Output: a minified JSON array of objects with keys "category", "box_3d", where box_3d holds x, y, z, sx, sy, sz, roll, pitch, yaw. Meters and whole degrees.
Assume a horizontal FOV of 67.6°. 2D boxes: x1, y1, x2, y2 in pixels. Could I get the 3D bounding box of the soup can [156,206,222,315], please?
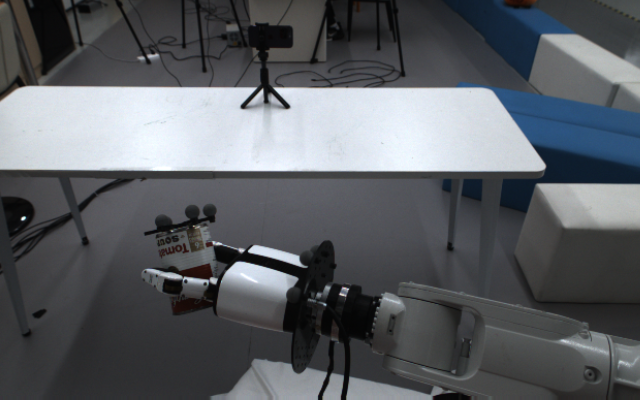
[{"category":"soup can","box_3d":[-0.160,0.088,0.610,0.067,0.101,0.067,-15,-2,-1]}]
